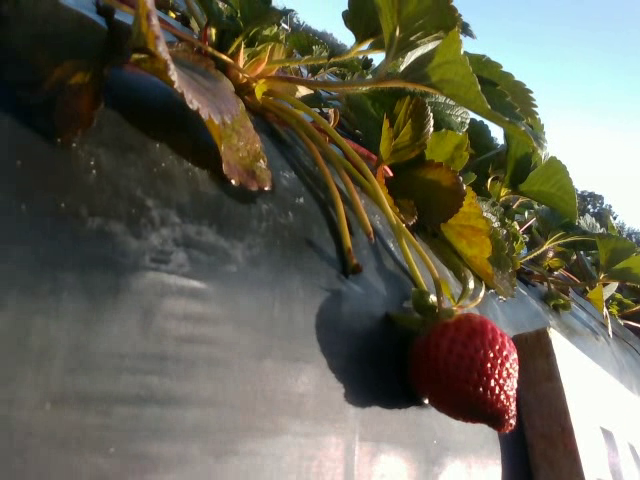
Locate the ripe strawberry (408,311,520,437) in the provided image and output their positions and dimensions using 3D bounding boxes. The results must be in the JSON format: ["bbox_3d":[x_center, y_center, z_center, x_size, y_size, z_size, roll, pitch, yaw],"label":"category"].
[{"bbox_3d":[0.048,0.042,0.187,0.036,0.044,0.040,-38,-24,27],"label":"ripe strawberry"}]
